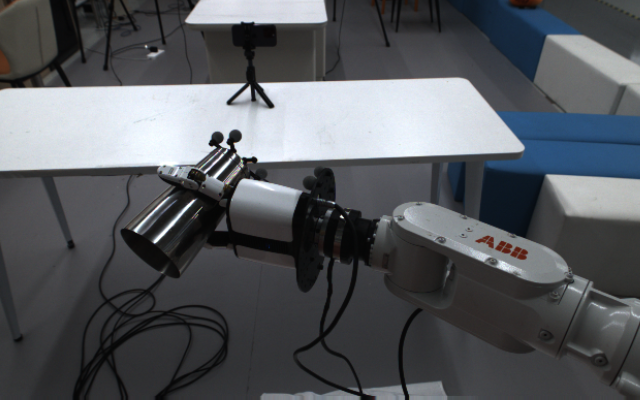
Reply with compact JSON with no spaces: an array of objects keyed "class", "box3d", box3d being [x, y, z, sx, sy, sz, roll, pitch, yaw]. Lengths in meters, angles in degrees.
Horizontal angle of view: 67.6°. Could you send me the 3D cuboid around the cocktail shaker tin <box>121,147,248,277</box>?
[{"class":"cocktail shaker tin","box3d":[-0.165,0.005,0.638,0.093,0.093,0.170,19,55,23]}]
